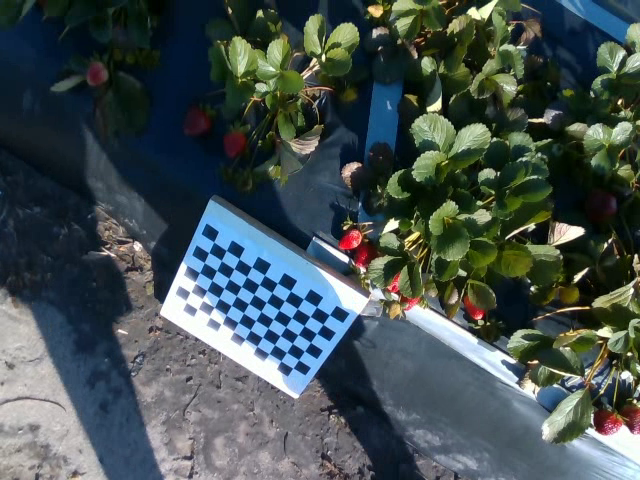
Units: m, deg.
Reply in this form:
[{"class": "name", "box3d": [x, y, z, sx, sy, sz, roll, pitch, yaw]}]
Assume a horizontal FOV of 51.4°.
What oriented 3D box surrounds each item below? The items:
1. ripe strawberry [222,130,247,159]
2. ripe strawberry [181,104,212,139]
[{"class": "ripe strawberry", "box3d": [-0.137, -0.147, 1.046, 0.042, 0.049, 0.039, -5, -35, 27]}, {"class": "ripe strawberry", "box3d": [-0.202, -0.181, 1.045, 0.050, 0.051, 0.044, -51, 13, -31]}]
